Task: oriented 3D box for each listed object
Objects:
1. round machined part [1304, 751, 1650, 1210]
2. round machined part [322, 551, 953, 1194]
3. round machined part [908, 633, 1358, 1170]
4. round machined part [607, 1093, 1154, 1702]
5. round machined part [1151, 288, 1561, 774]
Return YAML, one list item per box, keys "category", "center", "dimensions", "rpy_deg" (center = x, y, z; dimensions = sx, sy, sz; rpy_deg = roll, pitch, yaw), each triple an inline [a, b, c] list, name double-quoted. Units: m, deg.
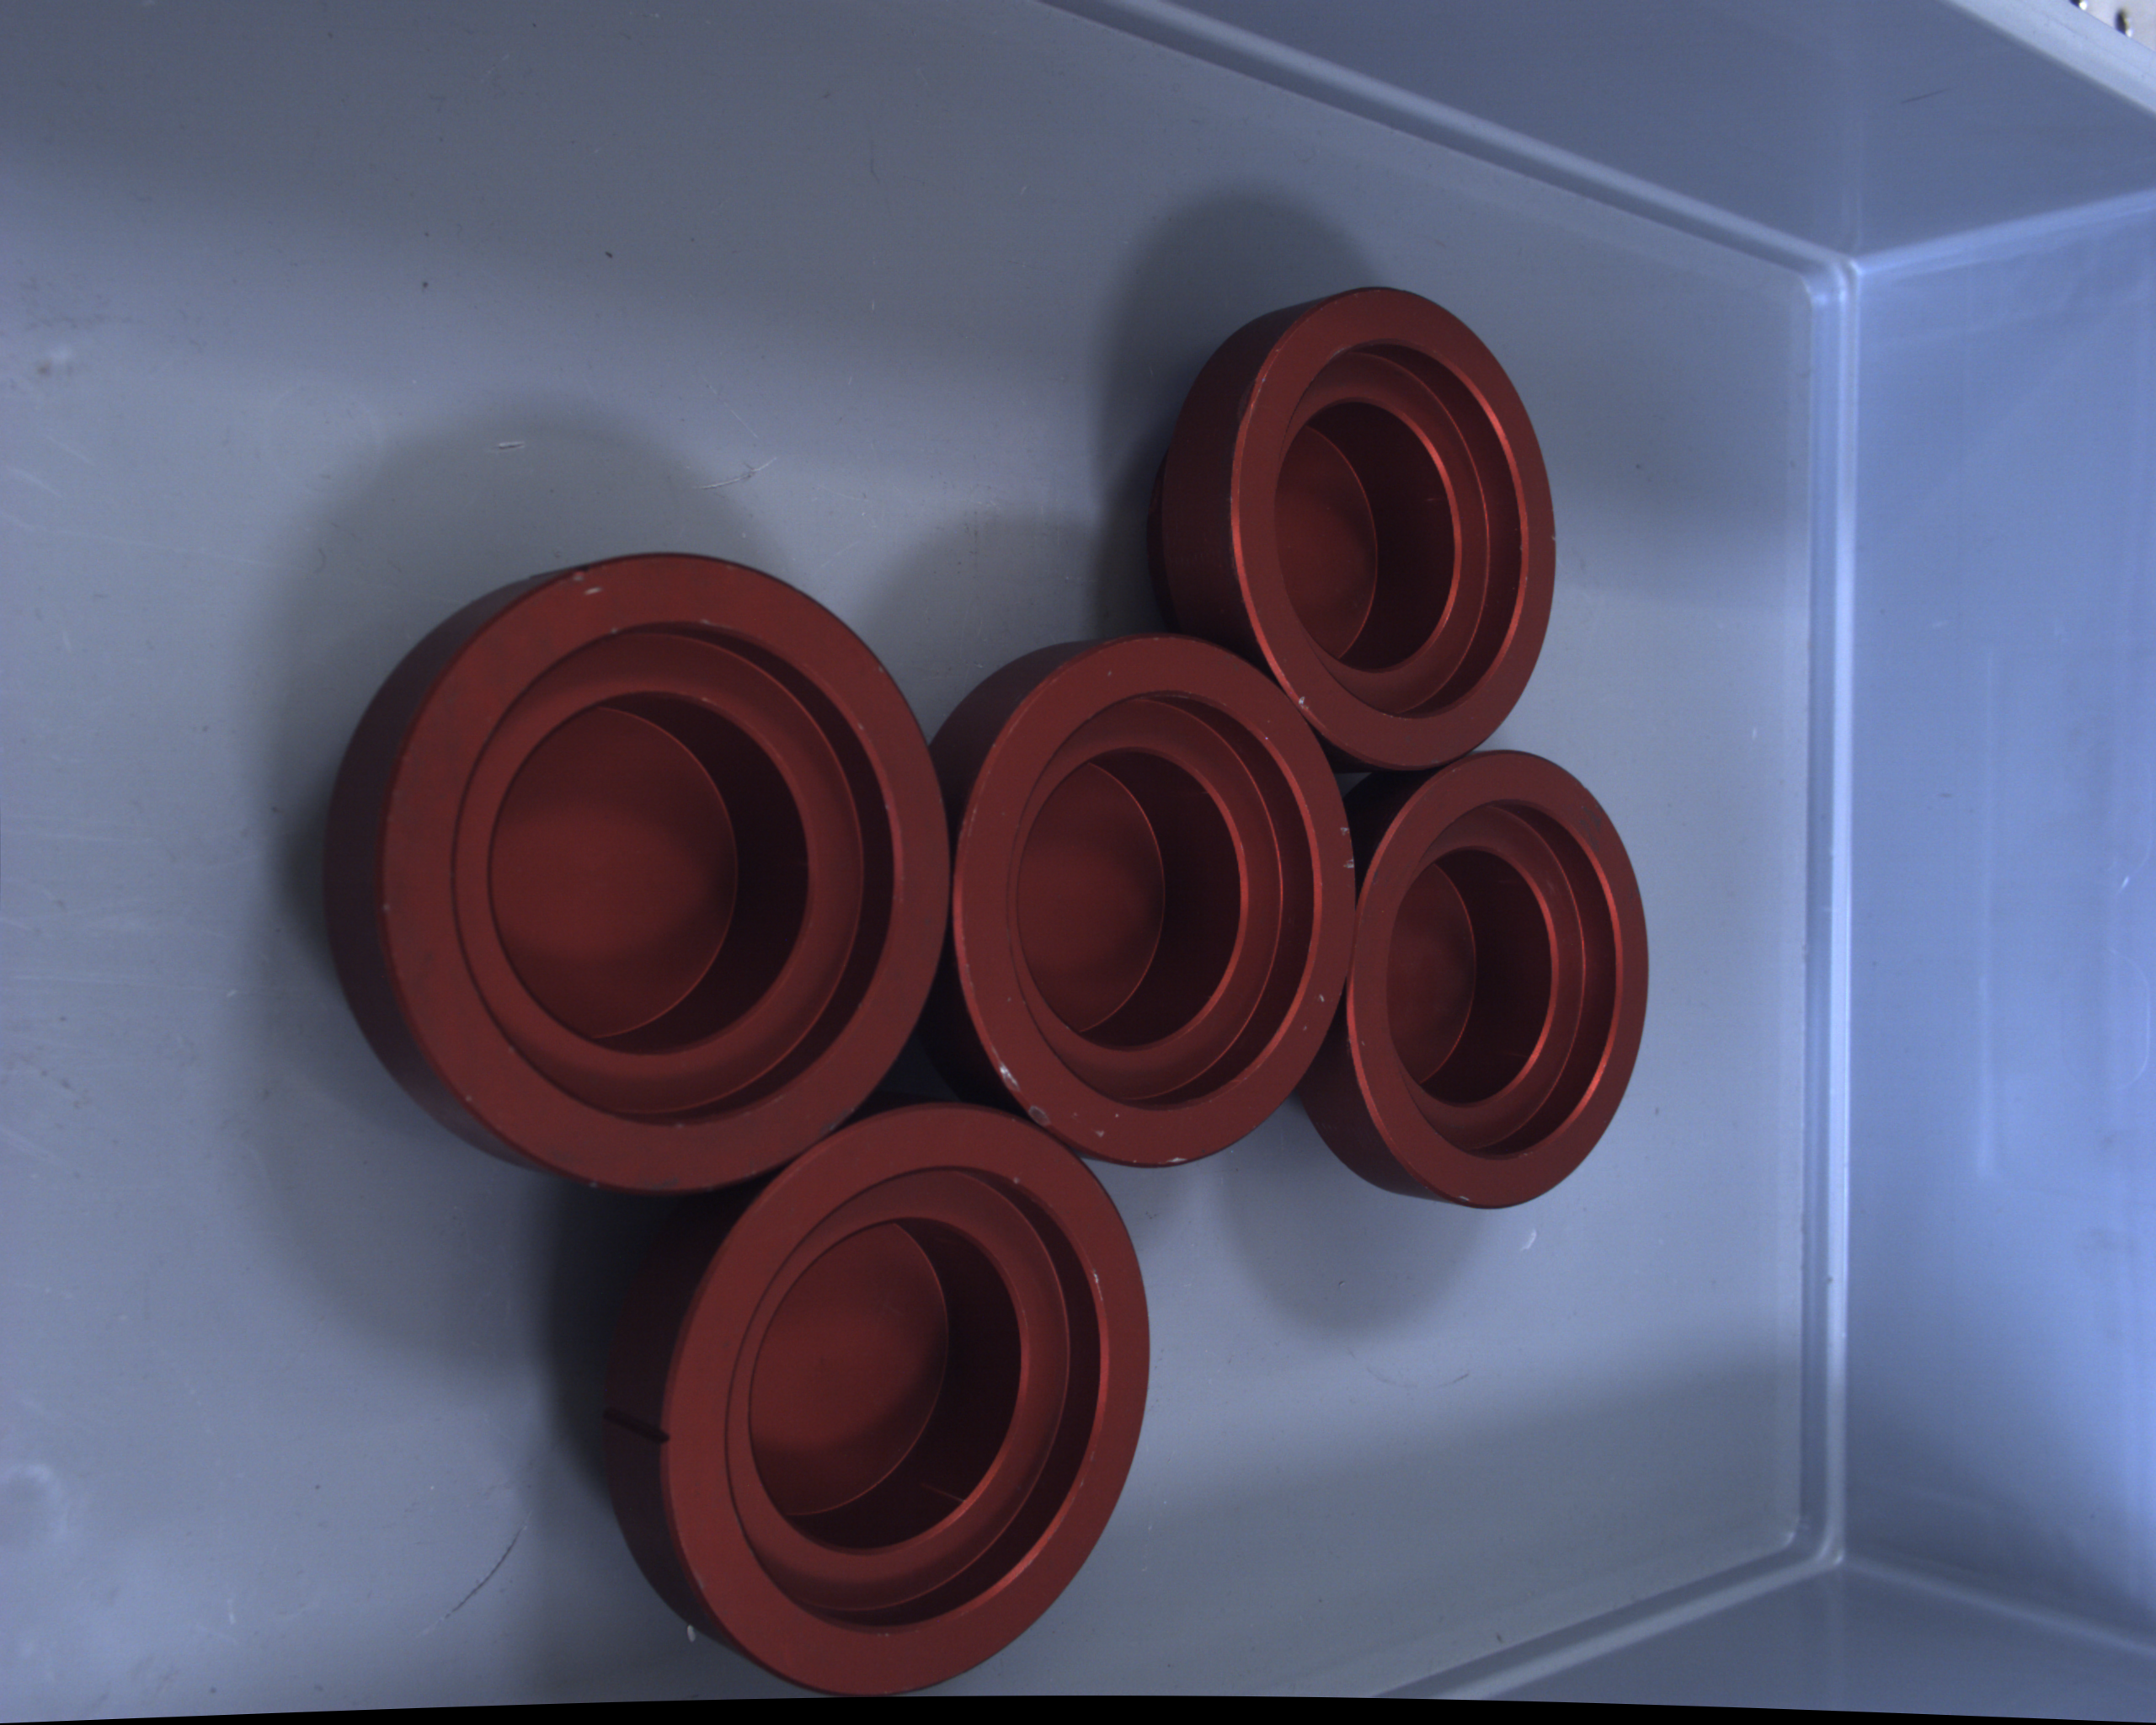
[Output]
- category: "round machined part"
  center: [0.079, 0.025, 0.458]
  dimensions: [0.099, 0.042, 0.097]
  rpy_deg: [0, 90, -40]
- category: "round machined part"
  center: [-0.072, 0.001, 0.332]
  dimensions: [0.099, 0.042, 0.097]
  rpy_deg: [0, 90, -40]
- category: "round machined part"
  center: [0.005, 0.007, 0.395]
  dimensions: [0.099, 0.042, 0.097]
  rpy_deg: [0, 90, -40]
- category: "round machined part"
  center: [-0.037, 0.089, 0.361]
  dimensions: [0.099, 0.042, 0.097]
  rpy_deg: [0, 90, -40]
- category: "round machined part"
  center: [0.054, -0.067, 0.437]
  dimensions: [0.099, 0.042, 0.097]
  rpy_deg: [0, 90, -40]
